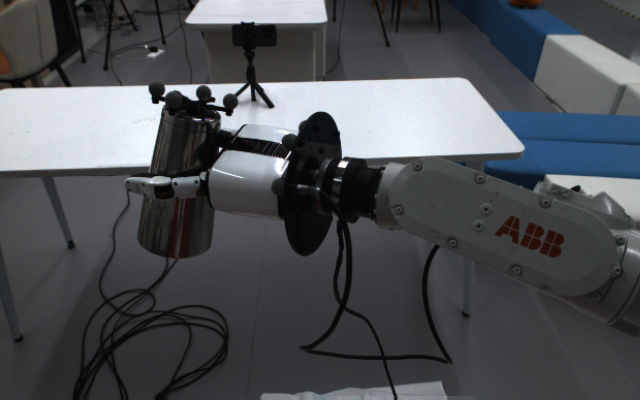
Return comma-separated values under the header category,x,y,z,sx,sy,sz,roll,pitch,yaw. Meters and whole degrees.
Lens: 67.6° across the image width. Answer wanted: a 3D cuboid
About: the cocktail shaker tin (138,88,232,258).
category,x,y,z,sx,sy,sz,roll,pitch,yaw
cocktail shaker tin,-0.163,-0.027,0.583,0.093,0.170,0.093,12,24,-5
